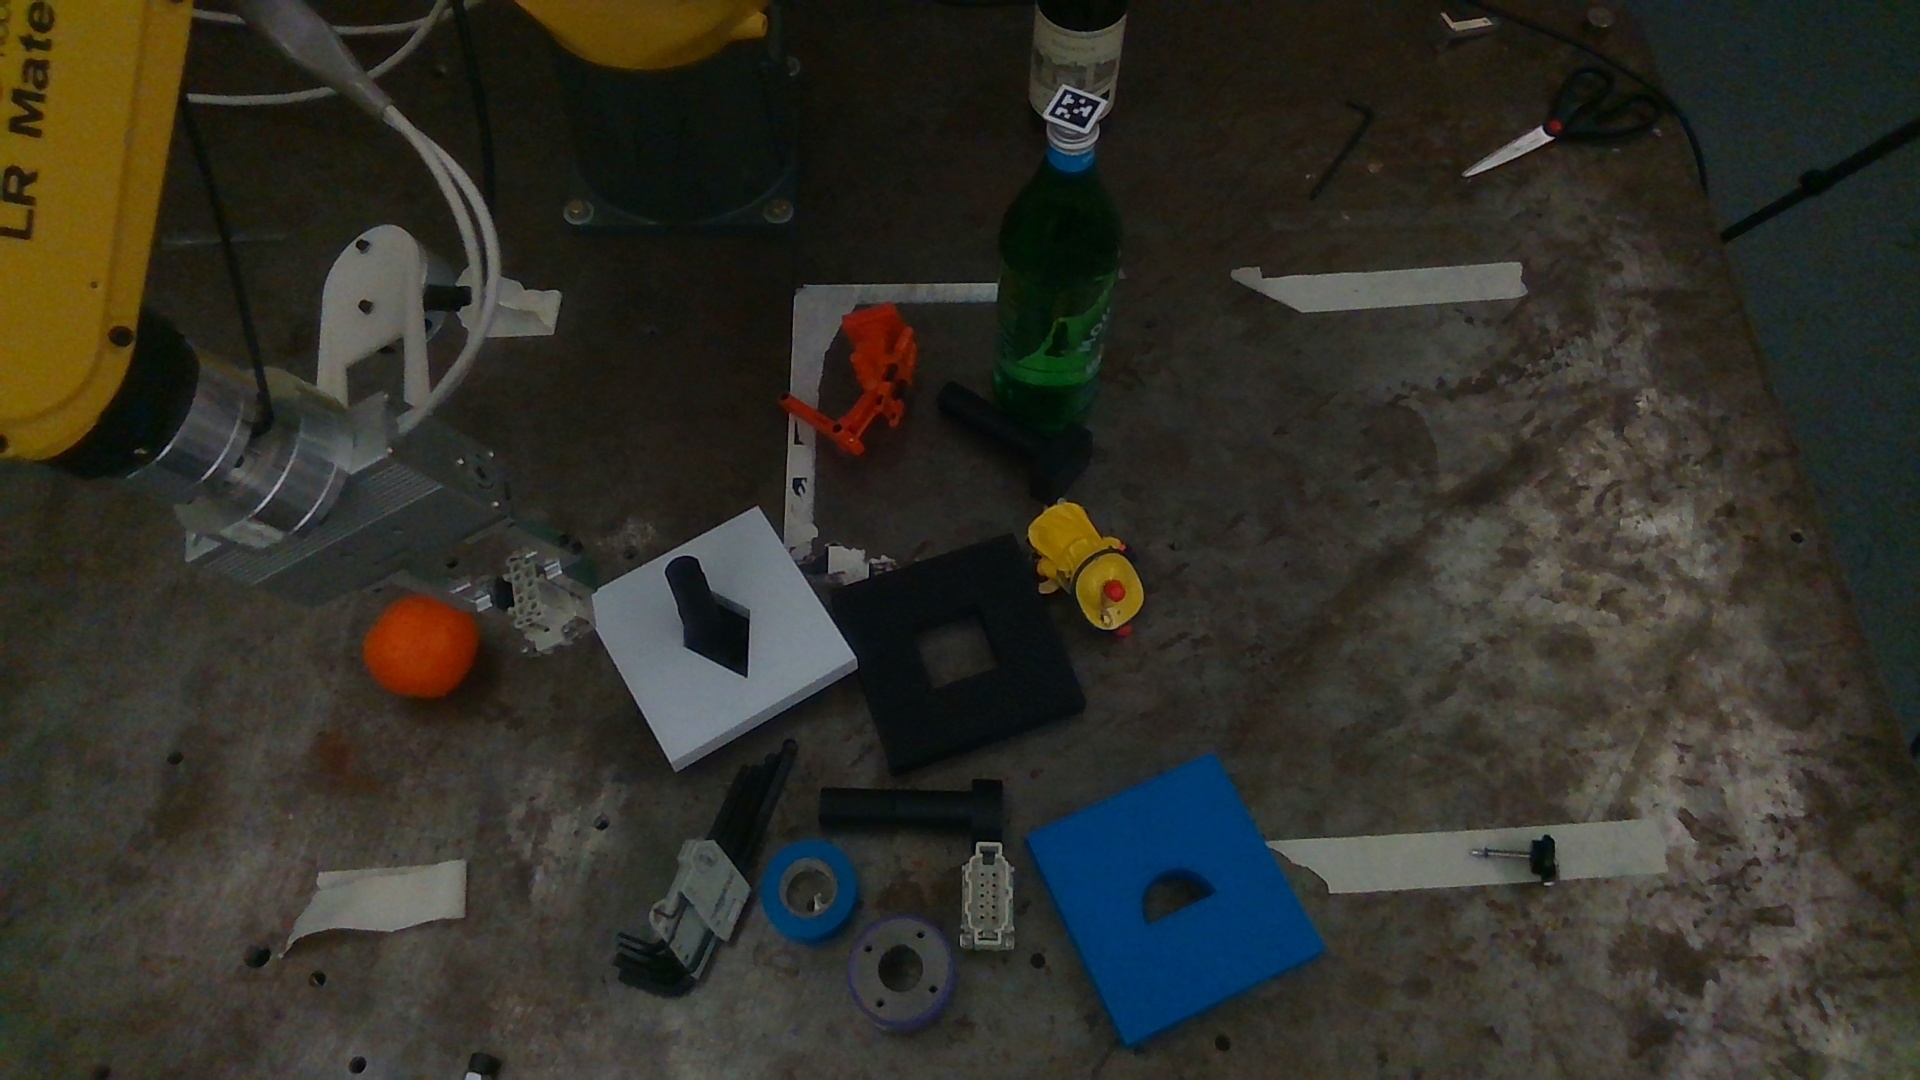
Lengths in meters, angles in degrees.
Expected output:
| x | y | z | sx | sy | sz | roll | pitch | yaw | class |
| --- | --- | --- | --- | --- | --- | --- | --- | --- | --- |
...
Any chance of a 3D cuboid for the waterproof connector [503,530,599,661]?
| x | y | z | sx | sy | sz | roll | pitch | yaw | class |
| --- | --- | --- | --- | --- | --- | --- | --- | --- | --- |
| -0.221 | 0.029 | 0.743 | 0.037 | 0.038 | 0.069 | -28 | 58 | 24 | waterproof connector |
